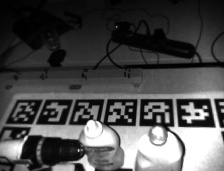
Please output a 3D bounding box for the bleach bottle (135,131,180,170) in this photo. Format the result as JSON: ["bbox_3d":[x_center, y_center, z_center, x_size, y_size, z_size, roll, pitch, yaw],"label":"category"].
[{"bbox_3d":[0.084,0.164,0.446,0.102,0.253,0.067,-8,51,6],"label":"bleach bottle"}]

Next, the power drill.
[{"bbox_3d":[-0.142,0.171,0.487,0.184,0.188,0.057,-2,44,7],"label":"power drill"}]

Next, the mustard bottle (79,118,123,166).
[{"bbox_3d":[-0.032,0.134,0.521,0.096,0.193,0.058,0,51,11],"label":"mustard bottle"}]
